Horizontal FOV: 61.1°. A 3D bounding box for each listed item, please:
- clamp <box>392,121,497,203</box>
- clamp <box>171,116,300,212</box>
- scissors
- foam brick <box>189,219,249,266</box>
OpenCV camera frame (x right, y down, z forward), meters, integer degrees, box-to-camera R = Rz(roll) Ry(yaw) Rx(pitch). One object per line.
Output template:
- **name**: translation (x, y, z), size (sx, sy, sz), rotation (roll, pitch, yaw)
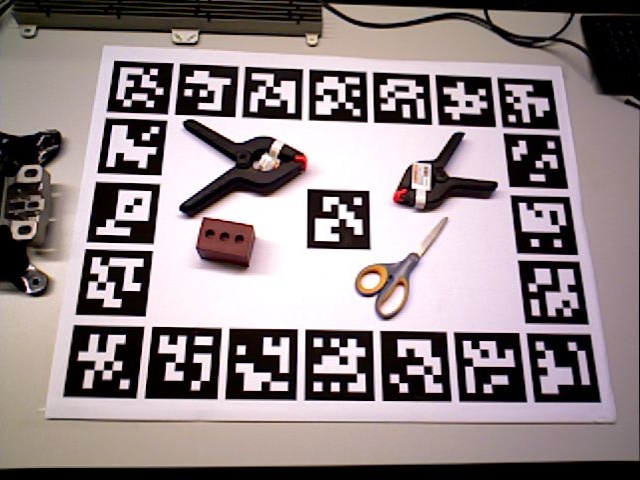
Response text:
- **clamp**: translation (0.190, -0.109, 0.875), size (0.163, 0.037, 0.122), rotation (-26, 84, -10)
- **clamp**: translation (-0.133, -0.125, 0.858), size (0.201, 0.037, 0.164), rotation (-3, 70, -5)
- **scissors**: translation (0.129, 0.029, 0.833), size (0.087, 0.016, 0.200), rotation (41, 74, 1)
- **foam brick**: translation (-0.149, 0.003, 0.813), size (0.078, 0.052, 0.052), rotation (7, 73, 3)
